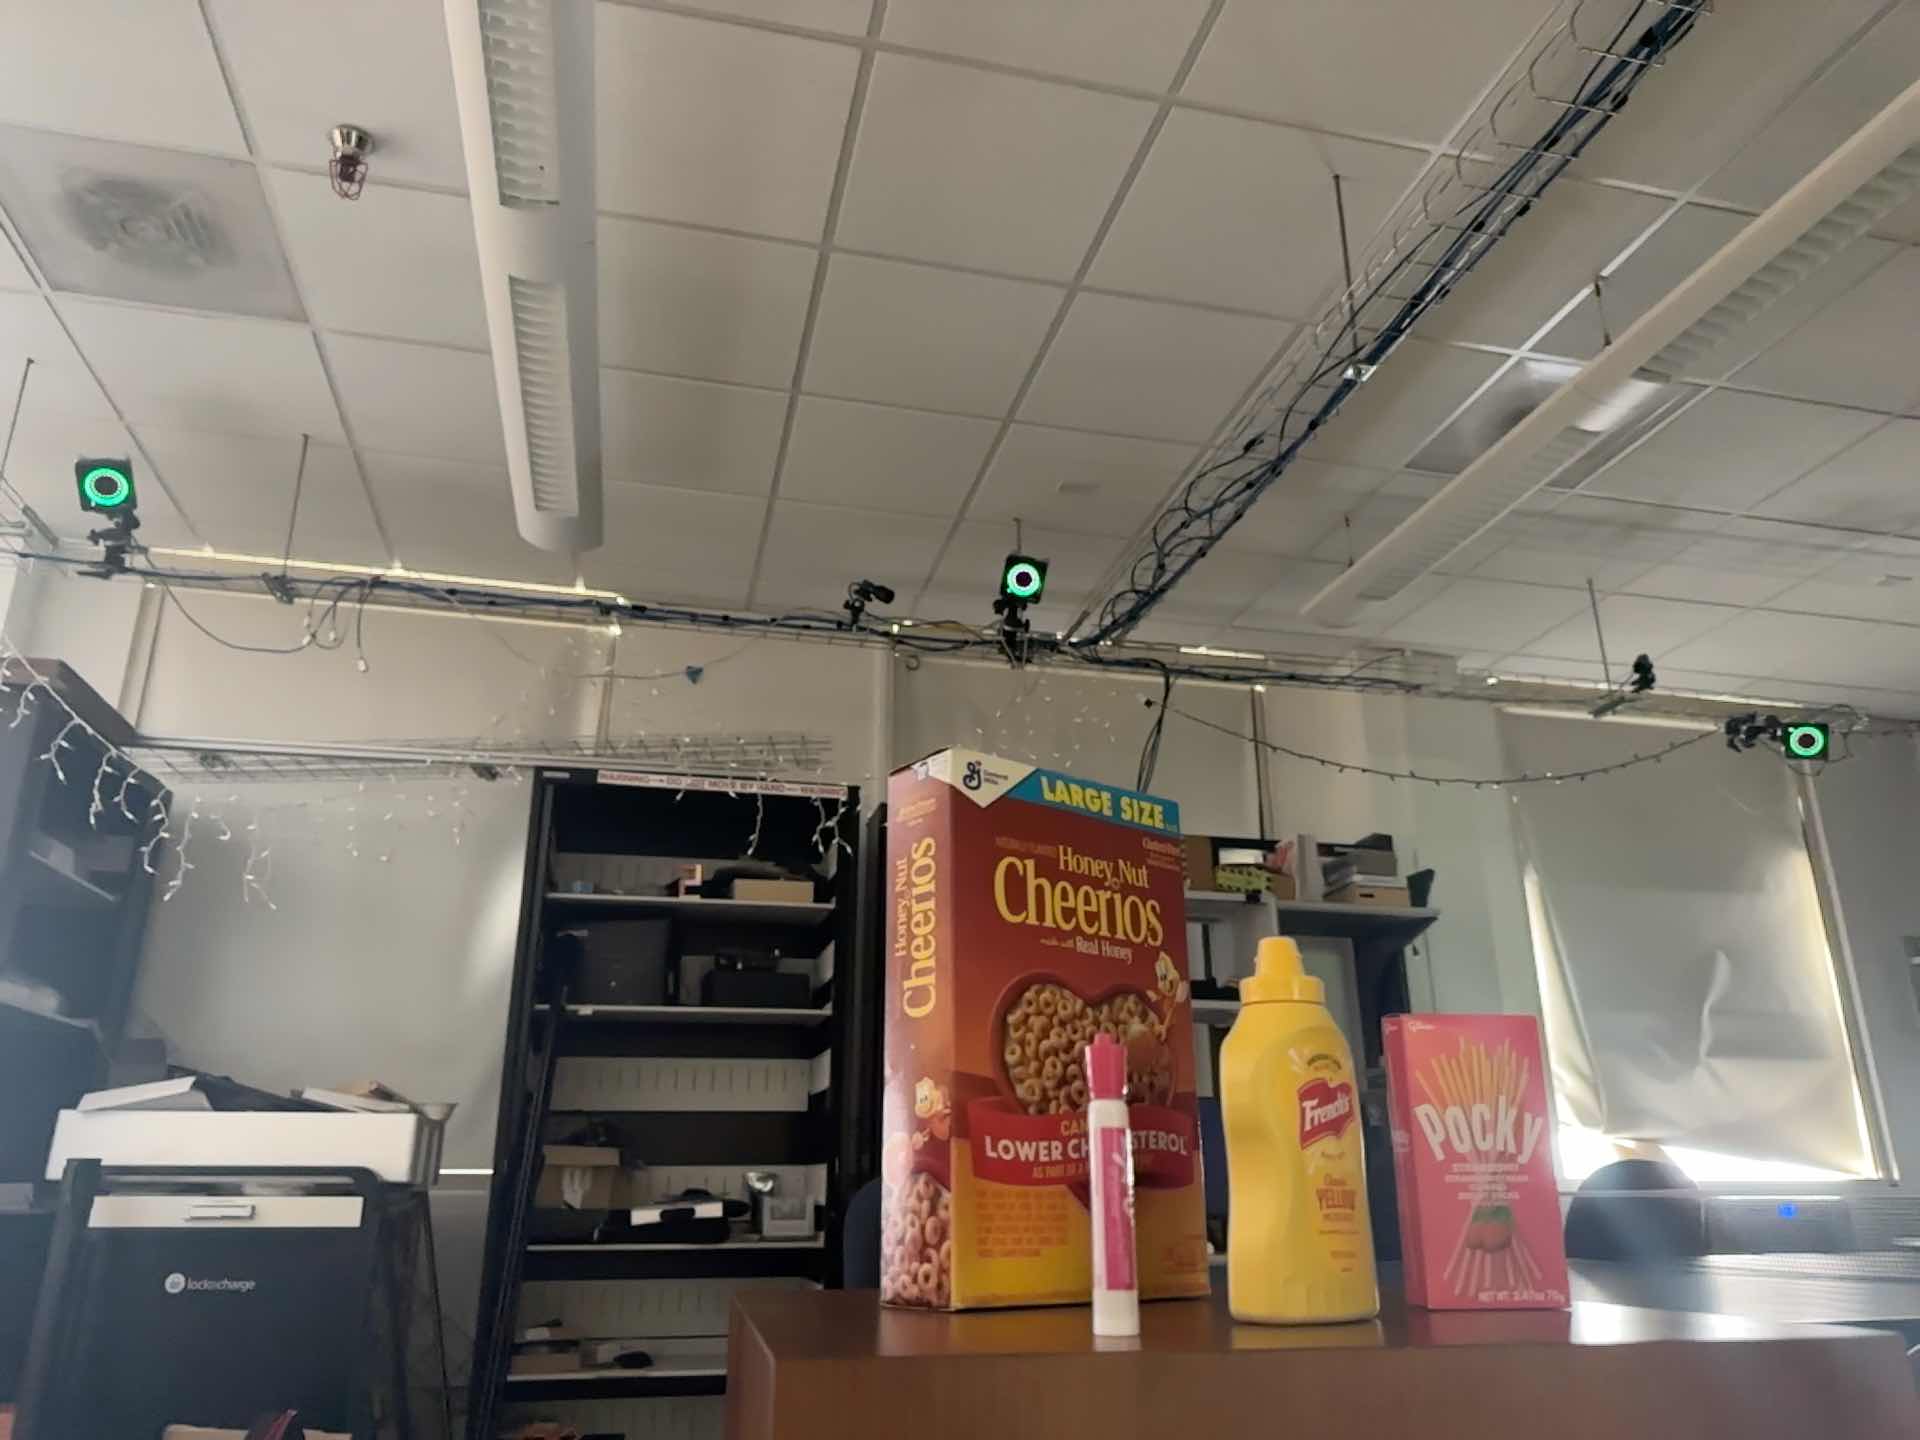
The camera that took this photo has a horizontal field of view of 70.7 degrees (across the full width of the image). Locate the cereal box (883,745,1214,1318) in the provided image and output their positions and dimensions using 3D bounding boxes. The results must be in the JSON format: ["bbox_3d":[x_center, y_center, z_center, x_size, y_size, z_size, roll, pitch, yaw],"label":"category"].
[{"bbox_3d":[0.053,0.182,0.805,0.195,0.296,0.065,16,-24,-39],"label":"cereal box"}]

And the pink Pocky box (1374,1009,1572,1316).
[{"bbox_3d":[0.274,0.234,0.727,0.084,0.154,0.029,4,-18,-14],"label":"pink Pocky box"}]

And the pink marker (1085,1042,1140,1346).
[{"bbox_3d":[0.064,0.199,0.575,0.020,0.121,0.020,0,-19,0],"label":"pink marker"}]

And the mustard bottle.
[{"bbox_3d":[0.159,0.196,0.658,0.092,0.184,0.054,12,-21,-36],"label":"mustard bottle"}]
